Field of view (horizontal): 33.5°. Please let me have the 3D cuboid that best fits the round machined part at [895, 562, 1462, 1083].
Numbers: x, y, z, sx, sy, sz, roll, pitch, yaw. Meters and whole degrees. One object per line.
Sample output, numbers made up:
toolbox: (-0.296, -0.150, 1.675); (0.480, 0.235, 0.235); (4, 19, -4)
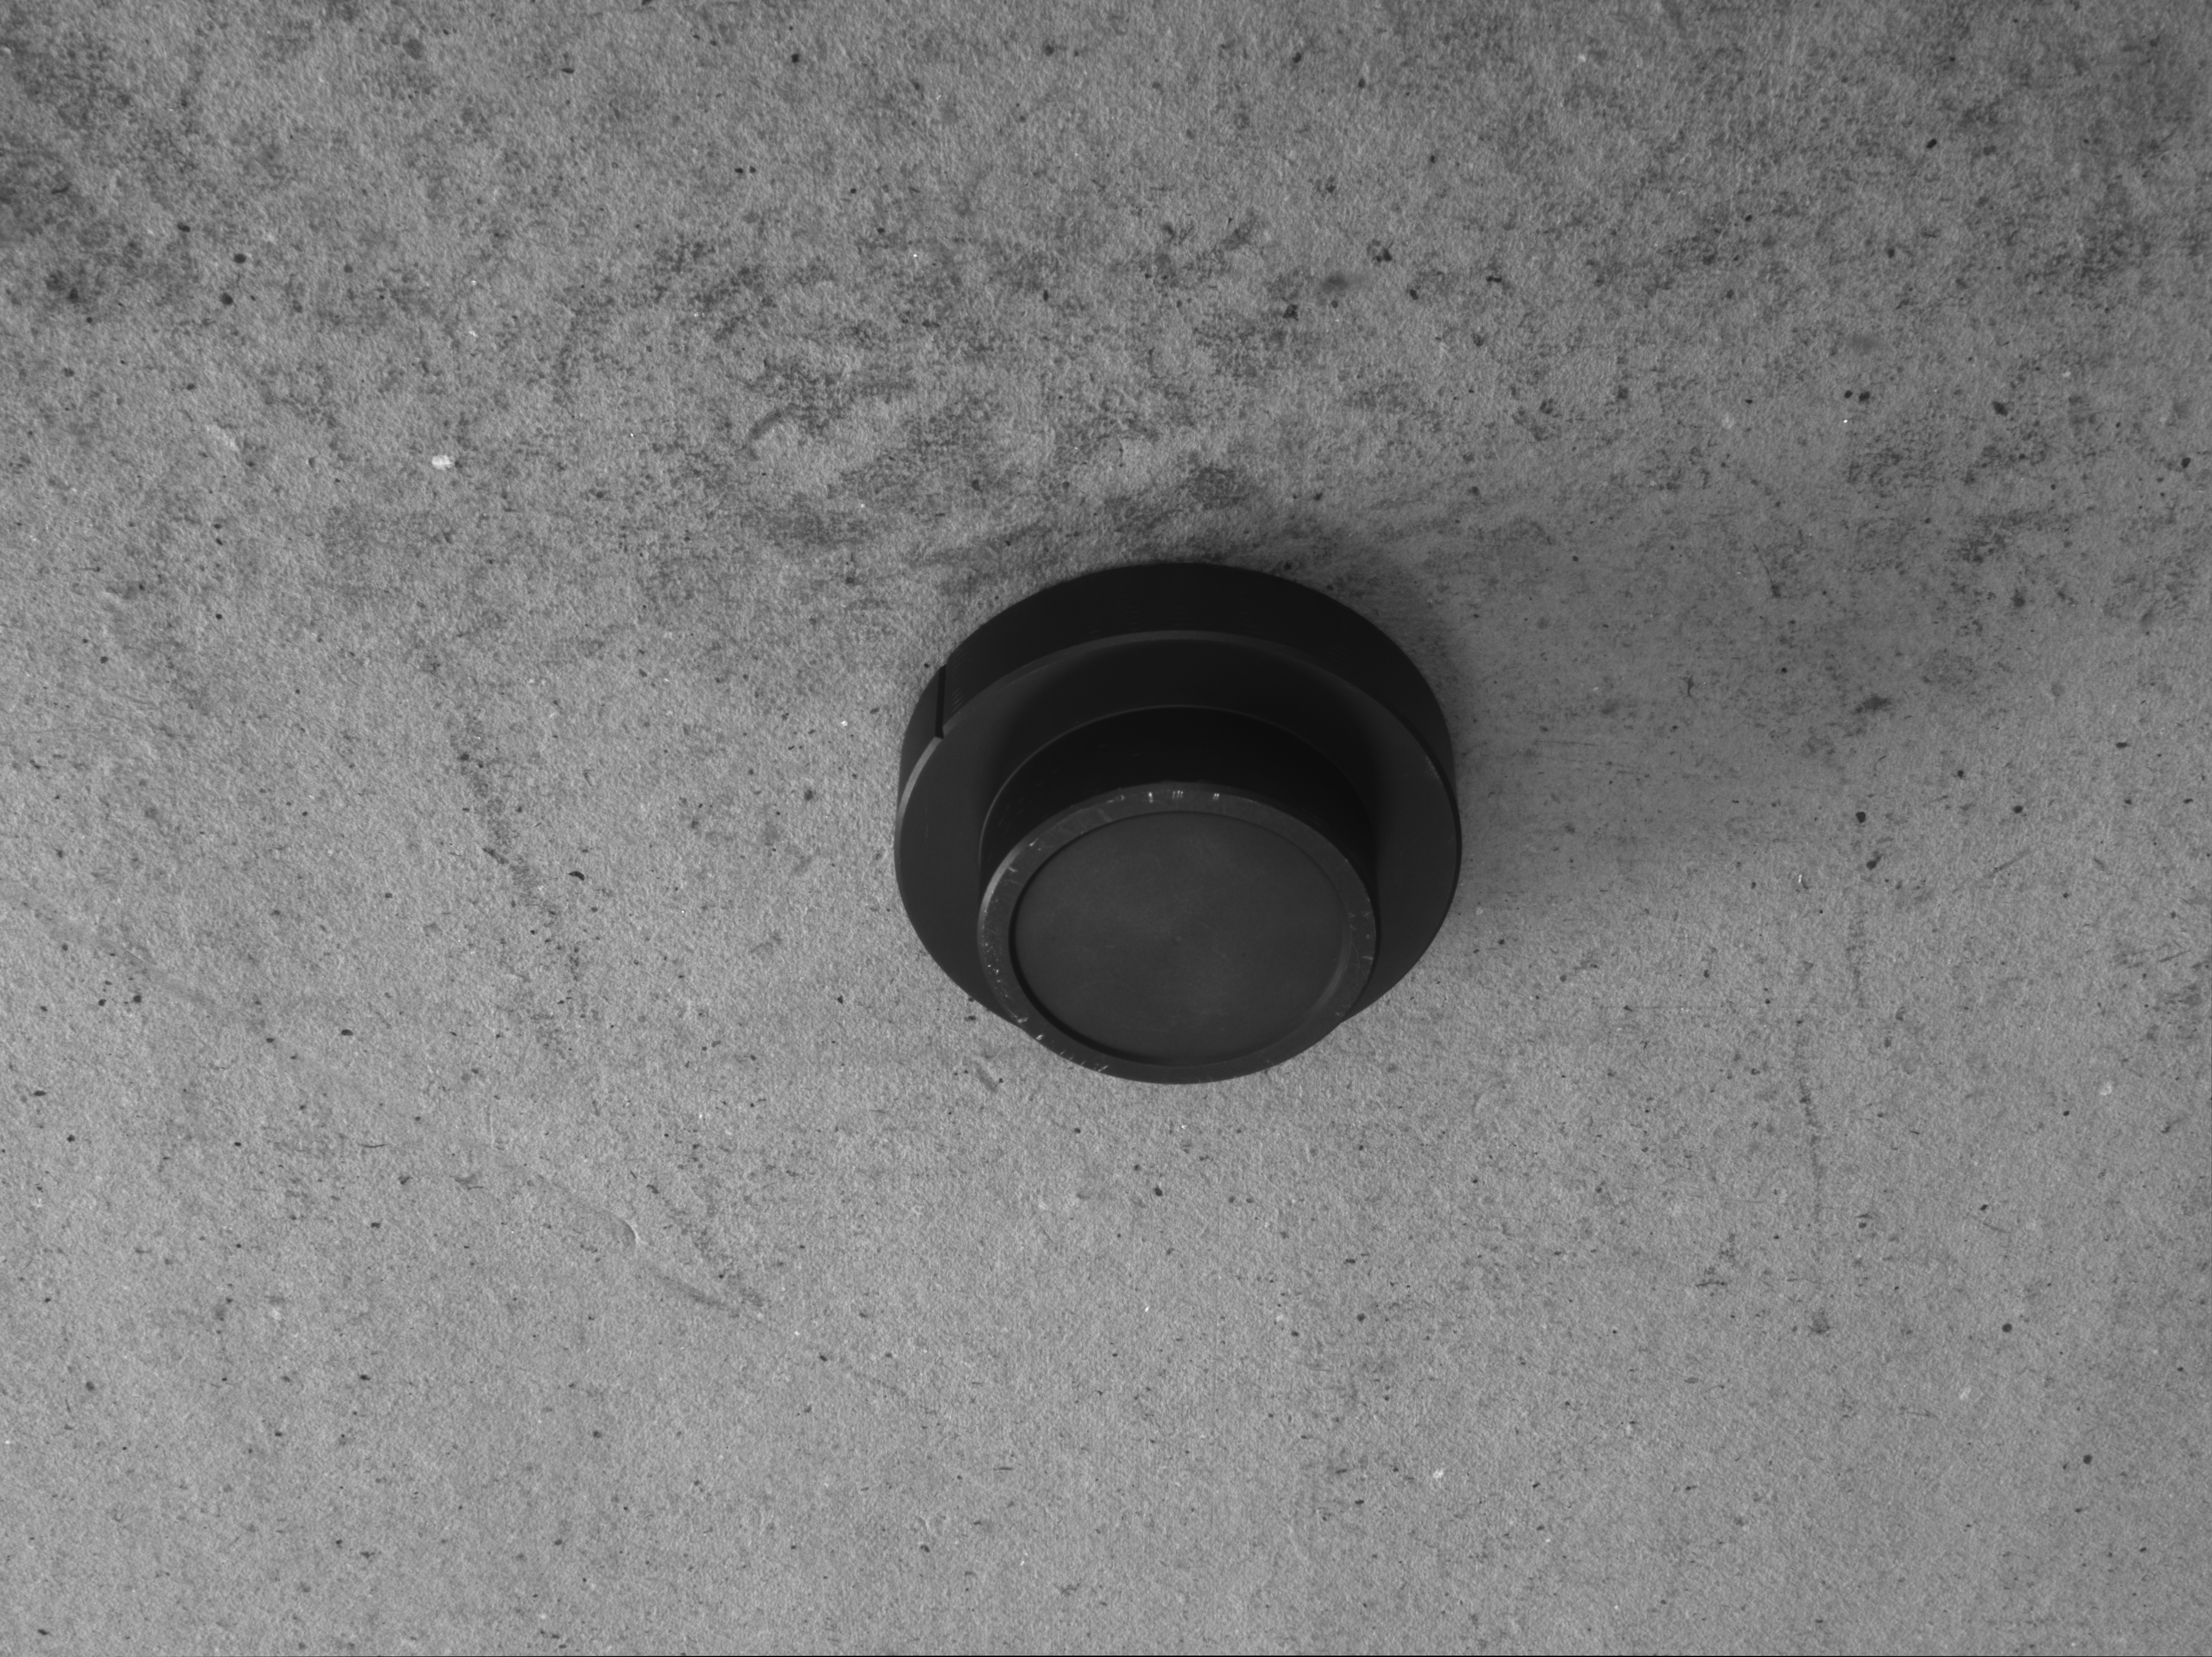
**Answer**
round machined part: (0.012, 0.006, 0.634); (0.098, 0.042, 0.098); (0, 130, 0)
